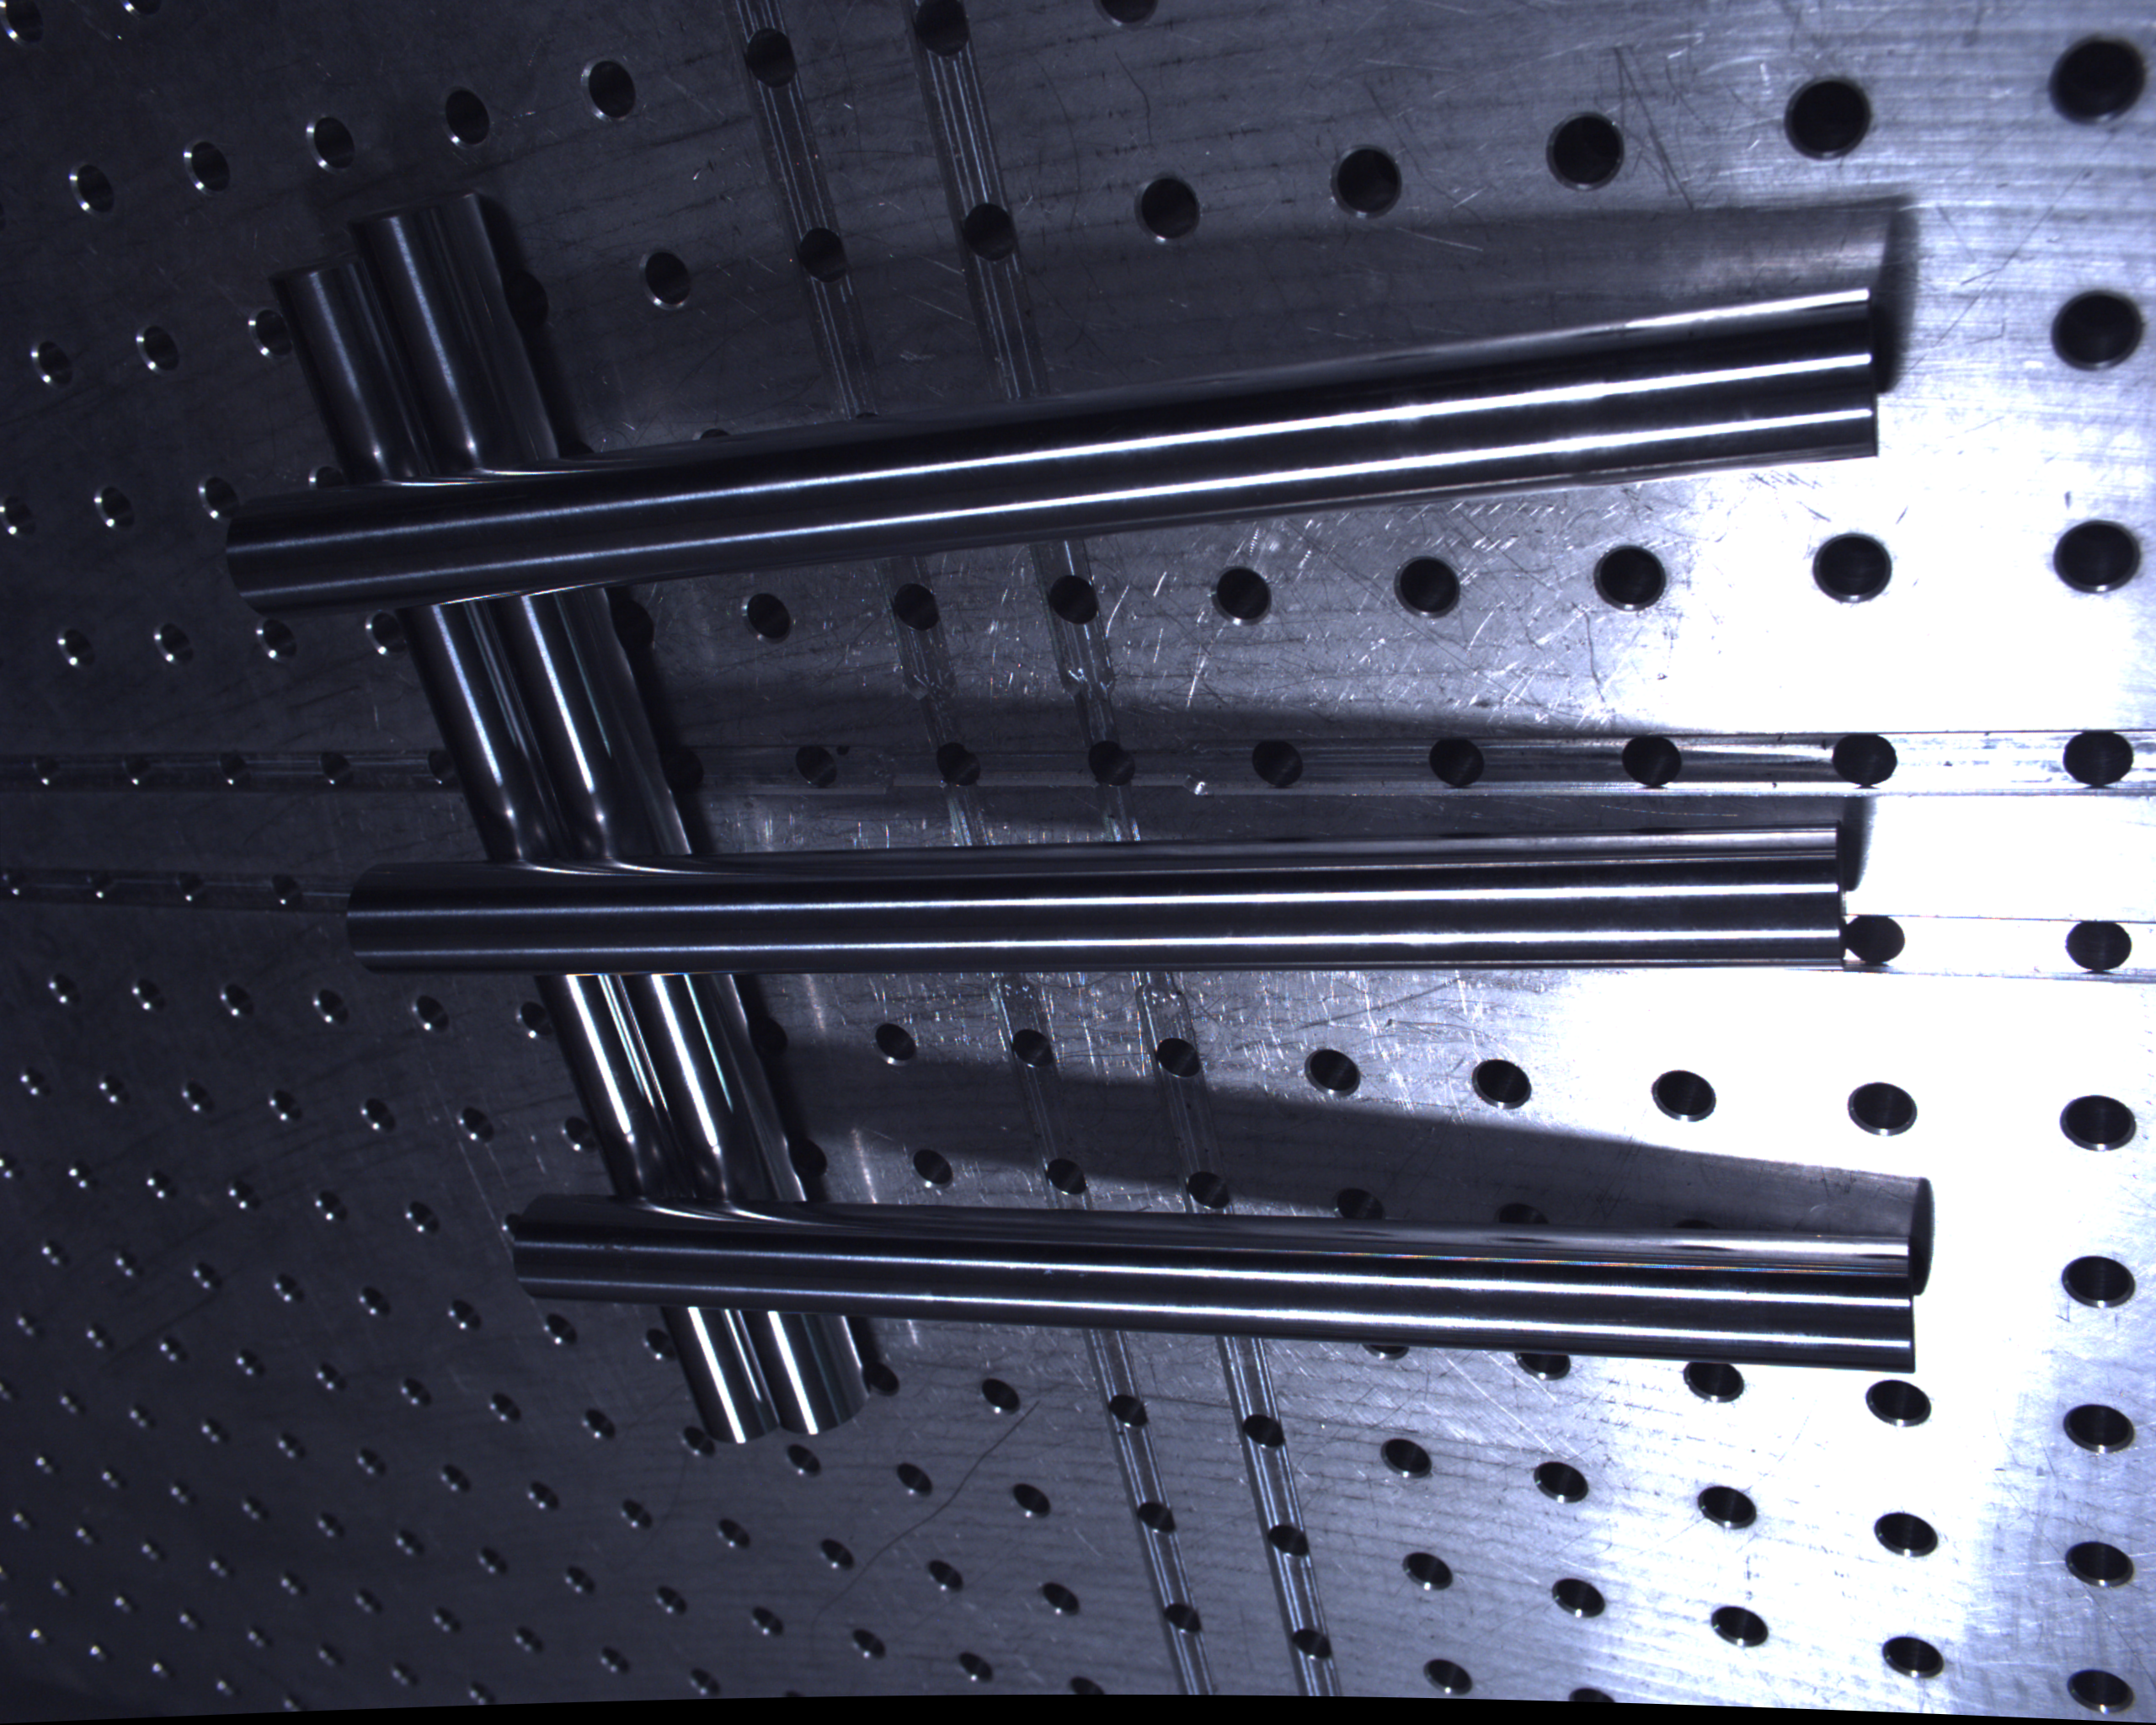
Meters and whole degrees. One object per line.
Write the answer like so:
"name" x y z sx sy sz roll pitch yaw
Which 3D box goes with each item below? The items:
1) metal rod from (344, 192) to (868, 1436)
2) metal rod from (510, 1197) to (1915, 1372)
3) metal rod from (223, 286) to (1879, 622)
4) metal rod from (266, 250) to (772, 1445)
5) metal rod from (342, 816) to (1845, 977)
"metal rod" -0.096 0.005 0.462 0.025 0.025 0.298 1 119 27
"metal rod" 0.013 0.086 0.437 0.301 0.025 0.025 -2 118 22
"metal rod" -0.022 -0.066 0.362 0.301 0.025 0.025 -2 118 22
"metal rod" -0.117 0.012 0.477 0.025 0.025 0.298 1 119 27
"metal rod" -0.013 0.009 0.402 0.301 0.025 0.025 -2 118 21
